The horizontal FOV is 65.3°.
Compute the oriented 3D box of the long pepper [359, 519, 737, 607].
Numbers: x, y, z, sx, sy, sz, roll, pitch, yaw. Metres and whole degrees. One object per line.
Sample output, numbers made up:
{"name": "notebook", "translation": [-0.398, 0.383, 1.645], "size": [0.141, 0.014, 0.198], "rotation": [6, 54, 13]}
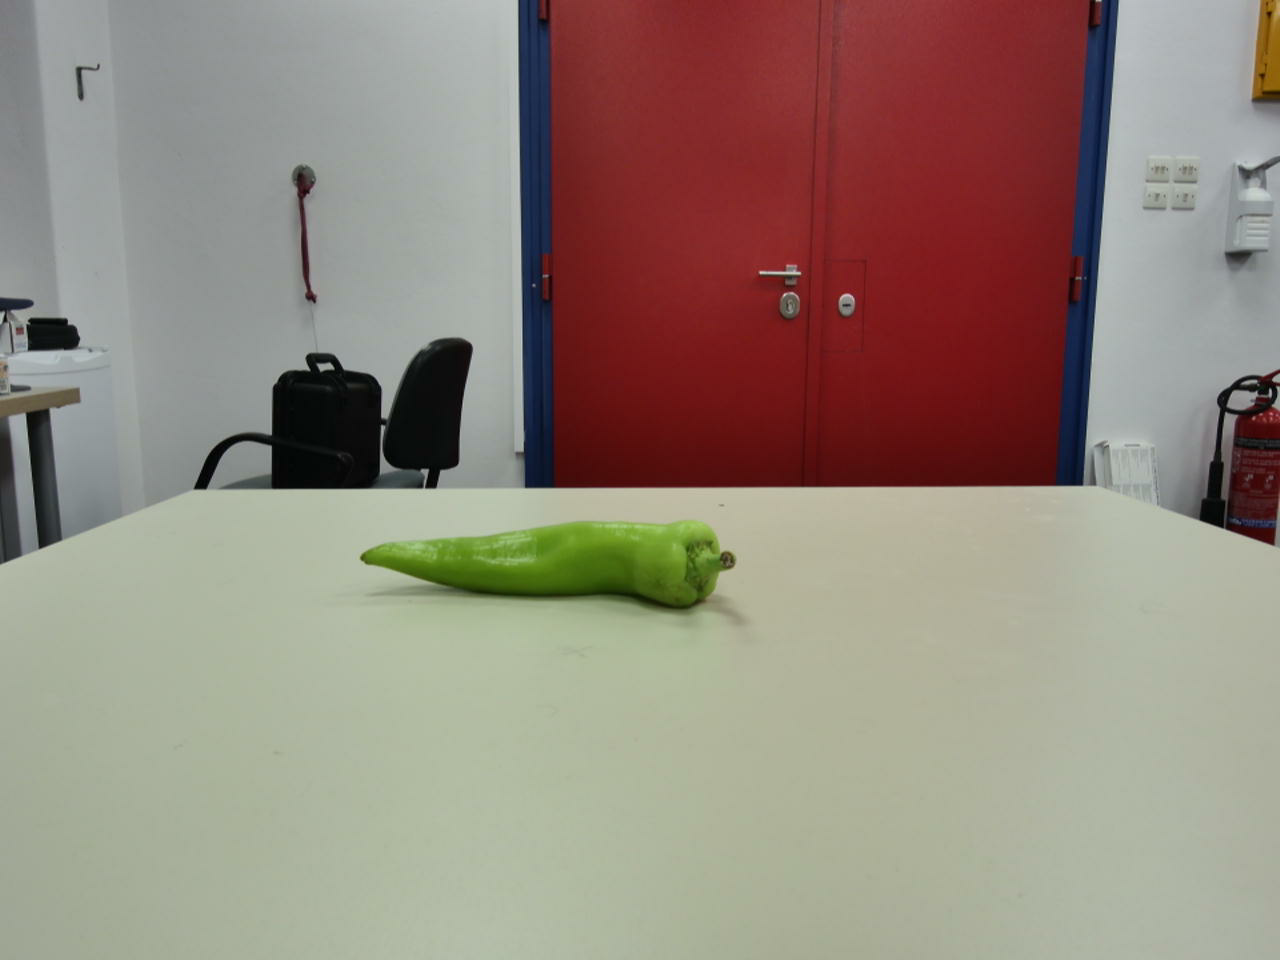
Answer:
{"name": "long pepper", "translation": [-0.044, 0.042, 0.542], "size": [0.205, 0.045, 0.065], "rotation": [1, 7, 15]}
